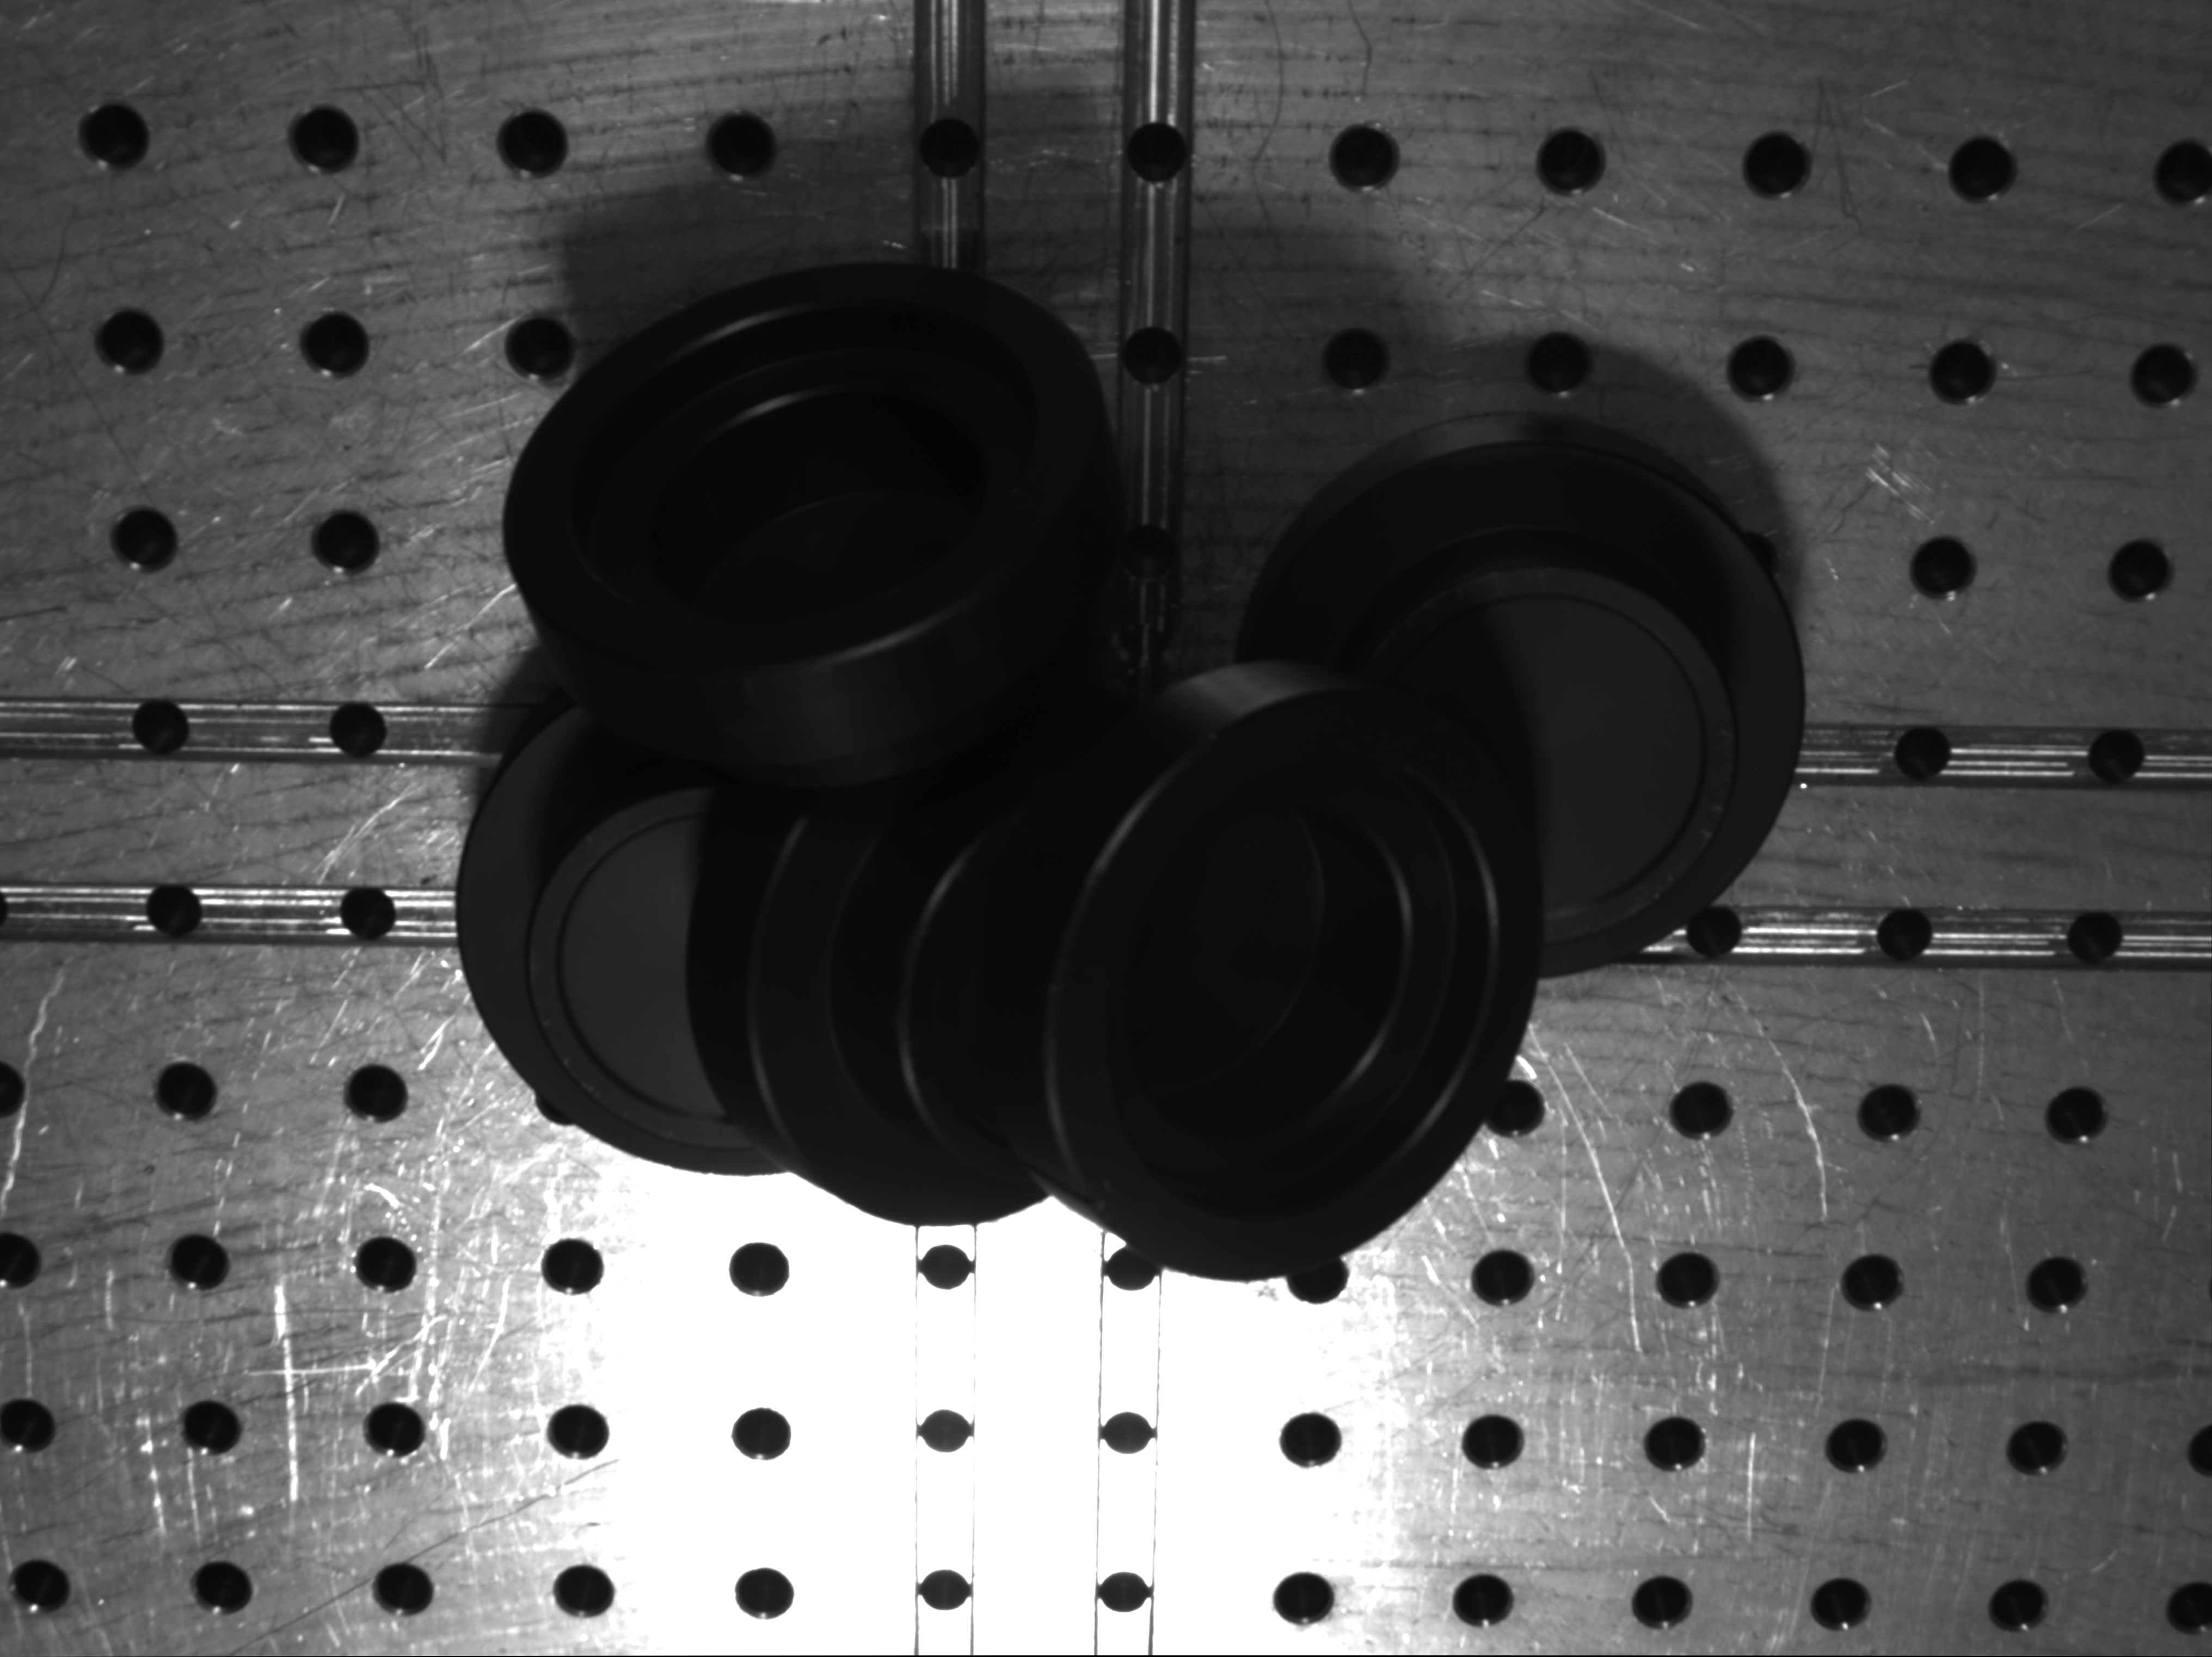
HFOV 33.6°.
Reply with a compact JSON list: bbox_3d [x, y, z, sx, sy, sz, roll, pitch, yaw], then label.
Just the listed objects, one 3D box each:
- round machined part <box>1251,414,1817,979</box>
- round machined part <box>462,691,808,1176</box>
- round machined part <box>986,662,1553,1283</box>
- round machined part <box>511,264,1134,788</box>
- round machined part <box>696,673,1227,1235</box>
[{"bbox_3d":[0.074,-0.019,0.630,0.098,0.042,0.098,0,110,-1],"label":"round machined part"},{"bbox_3d":[-0.064,0.017,0.642,0.098,0.042,0.098,0,110,-1],"label":"round machined part"},{"bbox_3d":[0.022,0.020,0.593,0.098,0.042,0.098,-12,112,-32],"label":"round machined part"},{"bbox_3d":[-0.043,-0.045,0.595,0.098,0.098,0.042,-12,135,4],"label":"round machined part"},{"bbox_3d":[-0.017,0.022,0.619,0.098,0.042,0.098,-12,110,-36],"label":"round machined part"}]
